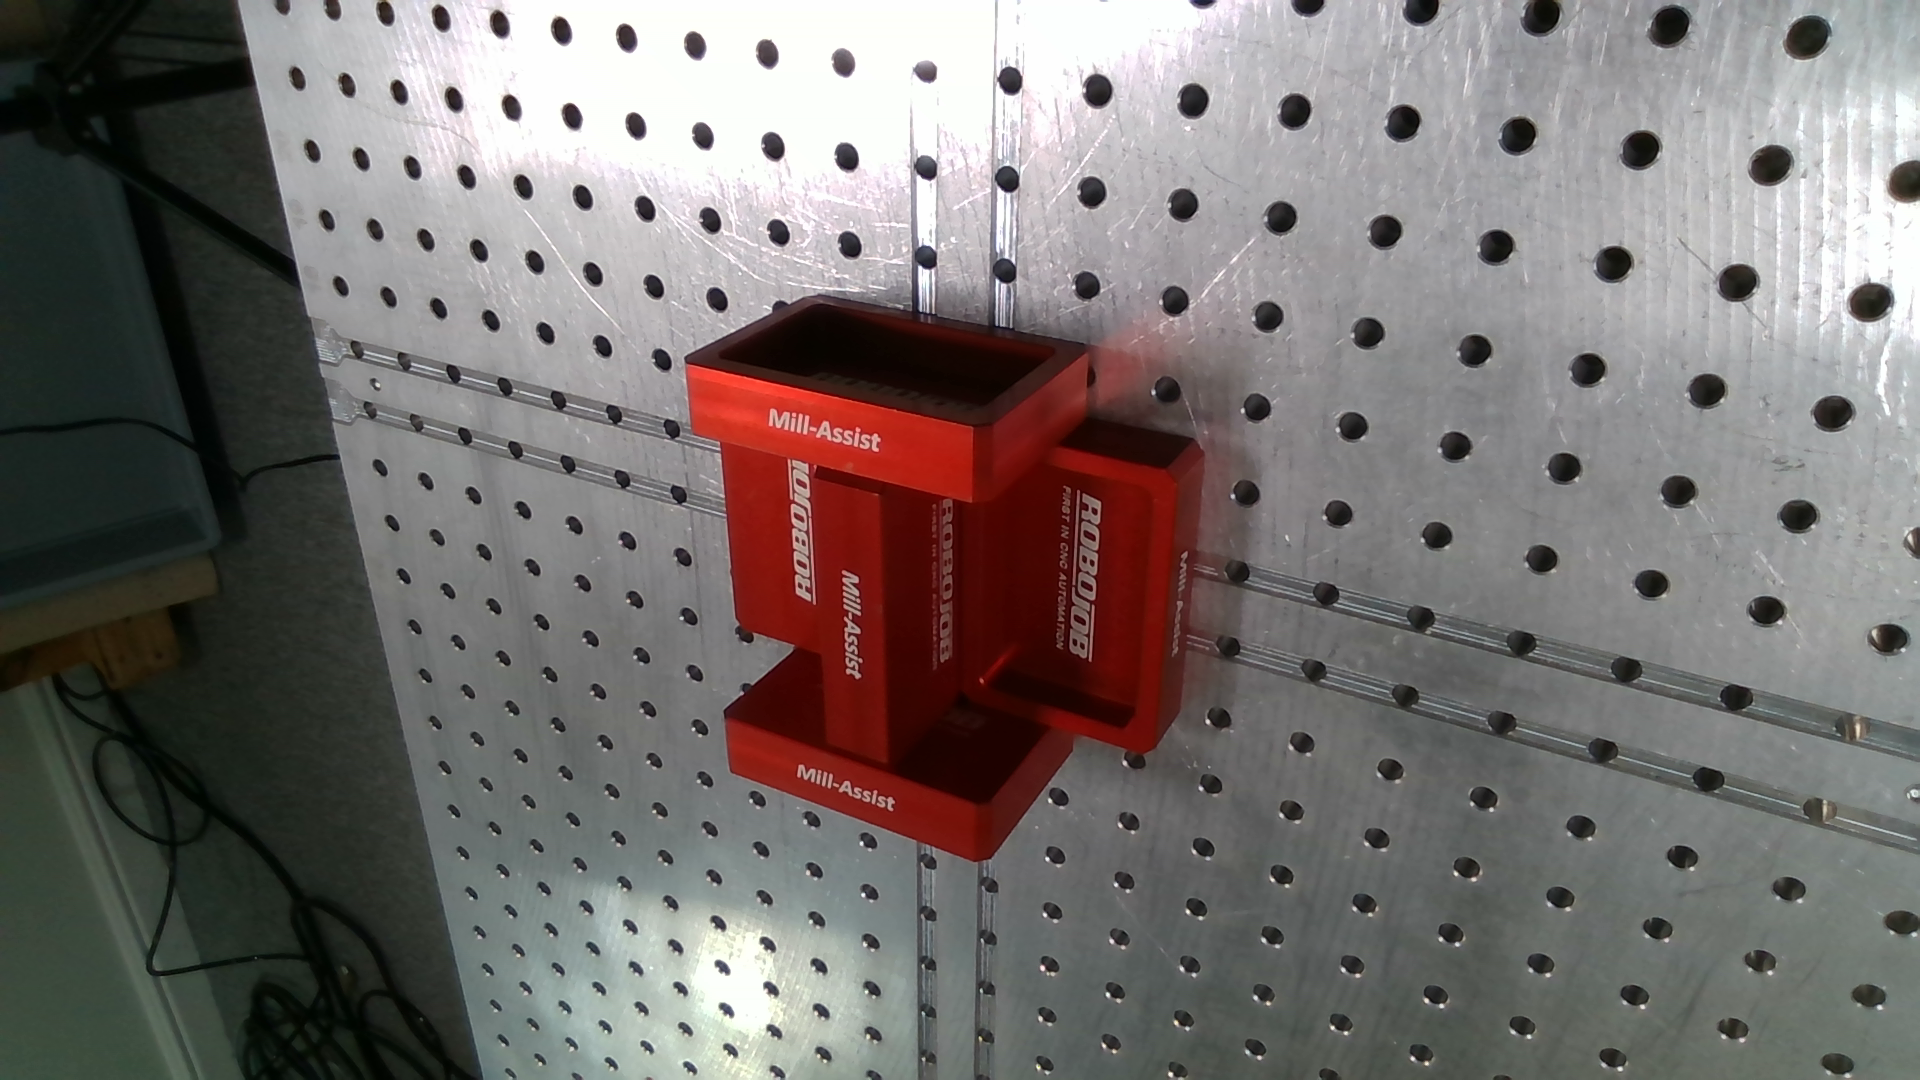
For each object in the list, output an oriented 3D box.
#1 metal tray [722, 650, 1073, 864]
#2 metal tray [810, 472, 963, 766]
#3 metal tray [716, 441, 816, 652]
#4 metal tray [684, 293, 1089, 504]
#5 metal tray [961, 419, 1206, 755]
[{"bbox_3d":[-0.026,0.084,0.602,0.130,0.090,0.030,15,122,24],"label":"metal tray"},{"bbox_3d":[-0.021,0.015,0.560,0.030,0.090,0.130,15,122,24],"label":"metal tray"},{"bbox_3d":[-0.061,-0.012,0.609,0.090,0.030,0.130,15,122,24],"label":"metal tray"},{"bbox_3d":[-0.027,-0.058,0.525,0.130,0.090,0.030,15,122,24],"label":"metal tray"},{"bbox_3d":[0.047,0.016,0.559,0.090,0.030,0.130,15,122,24],"label":"metal tray"}]
